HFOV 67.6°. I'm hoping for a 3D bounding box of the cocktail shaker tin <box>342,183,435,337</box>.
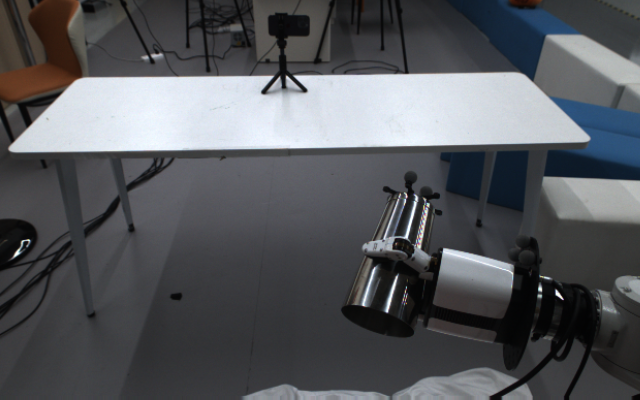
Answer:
[{"bbox_3d":[0.094,0.078,0.622,0.093,0.093,0.170,15,62,18],"label":"cocktail shaker tin"}]
